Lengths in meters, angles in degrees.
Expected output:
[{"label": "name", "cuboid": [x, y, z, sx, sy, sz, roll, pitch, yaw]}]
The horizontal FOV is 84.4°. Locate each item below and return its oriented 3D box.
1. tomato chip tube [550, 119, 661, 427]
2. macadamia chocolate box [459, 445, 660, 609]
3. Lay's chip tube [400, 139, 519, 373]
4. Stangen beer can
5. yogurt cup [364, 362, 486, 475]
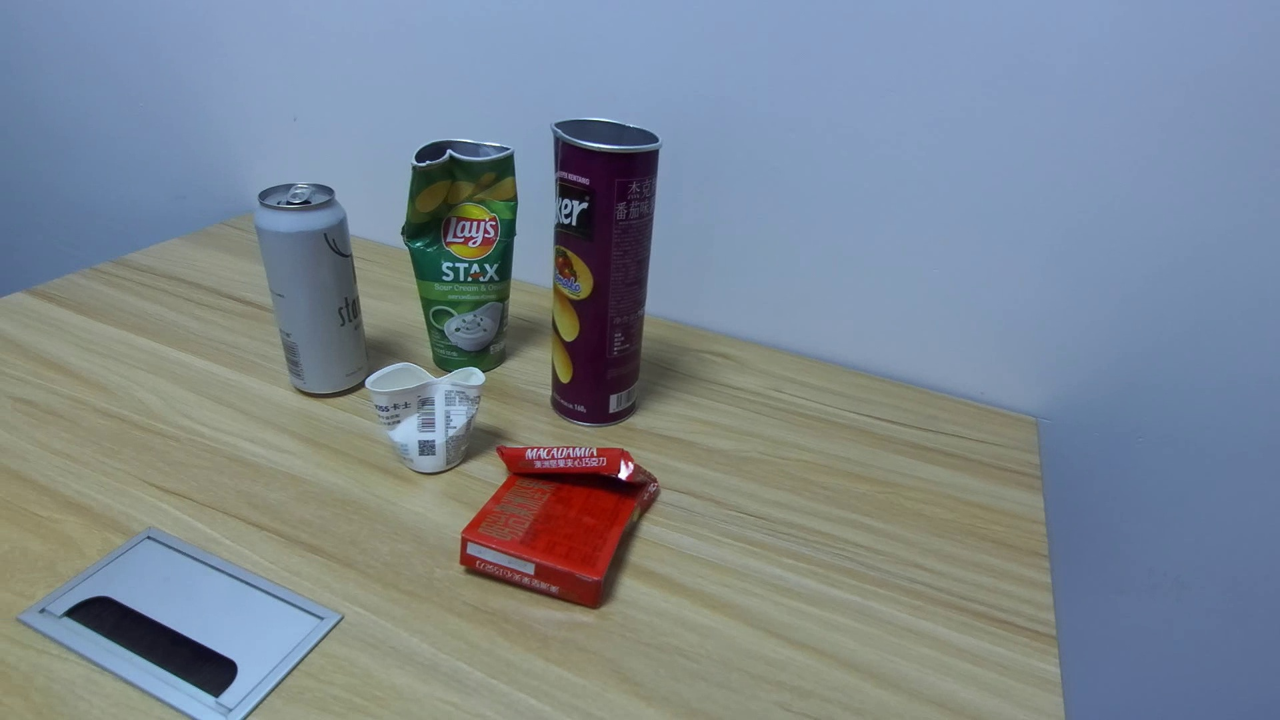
[{"label": "tomato chip tube", "cuboid": [-0.031, -0.062, 0.560, 0.077, 0.234, 0.080, -2, 32, -10]}, {"label": "macadamia chocolate box", "cuboid": [-0.059, 0.102, 0.489, 0.112, 0.056, 0.126, -1, 32, 21]}, {"label": "Lay's chip tube", "cuboid": [-0.156, -0.089, 0.625, 0.069, 0.201, 0.077, 27, 41, 31]}, {"label": "Stangen beer can", "cuboid": [-0.267, -0.055, 0.581, 0.067, 0.171, 0.067, 4, 31, -2]}, {"label": "yogurt cup", "cuboid": [-0.159, 0.042, 0.536, 0.076, 0.071, 0.053, -20, 40, -31]}]
